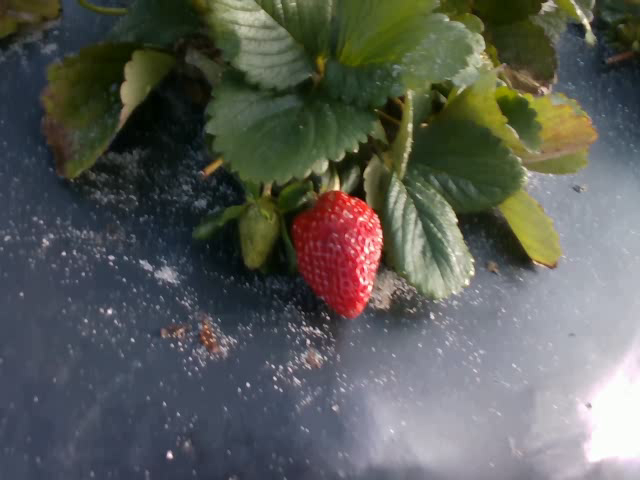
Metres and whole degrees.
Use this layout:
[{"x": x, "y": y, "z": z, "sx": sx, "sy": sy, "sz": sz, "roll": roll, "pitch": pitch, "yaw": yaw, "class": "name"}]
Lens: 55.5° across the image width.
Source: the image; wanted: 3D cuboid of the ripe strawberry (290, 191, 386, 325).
[{"x": 0.006, "y": 0.005, "z": 0.149, "sx": 0.029, "sy": 0.036, "sz": 0.021, "roll": -5, "pitch": -26, "yaw": -14, "class": "ripe strawberry"}]
